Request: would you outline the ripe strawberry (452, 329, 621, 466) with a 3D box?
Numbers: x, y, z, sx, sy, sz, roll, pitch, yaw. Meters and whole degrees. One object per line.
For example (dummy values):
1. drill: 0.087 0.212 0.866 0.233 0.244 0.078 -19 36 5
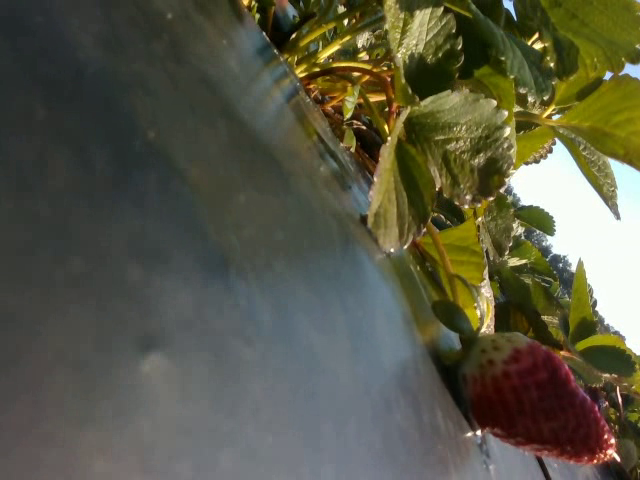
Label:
1. ripe strawberry: 0.049 0.038 0.134 0.041 0.031 0.028 33 20 33
